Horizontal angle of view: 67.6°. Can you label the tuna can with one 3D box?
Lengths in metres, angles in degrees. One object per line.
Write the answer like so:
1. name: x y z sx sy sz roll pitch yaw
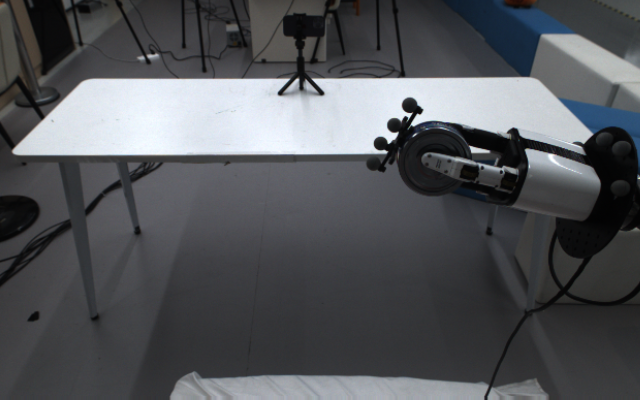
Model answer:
1. tuna can: 0.137 -0.052 0.578 0.085 0.085 0.034 3 20 1
